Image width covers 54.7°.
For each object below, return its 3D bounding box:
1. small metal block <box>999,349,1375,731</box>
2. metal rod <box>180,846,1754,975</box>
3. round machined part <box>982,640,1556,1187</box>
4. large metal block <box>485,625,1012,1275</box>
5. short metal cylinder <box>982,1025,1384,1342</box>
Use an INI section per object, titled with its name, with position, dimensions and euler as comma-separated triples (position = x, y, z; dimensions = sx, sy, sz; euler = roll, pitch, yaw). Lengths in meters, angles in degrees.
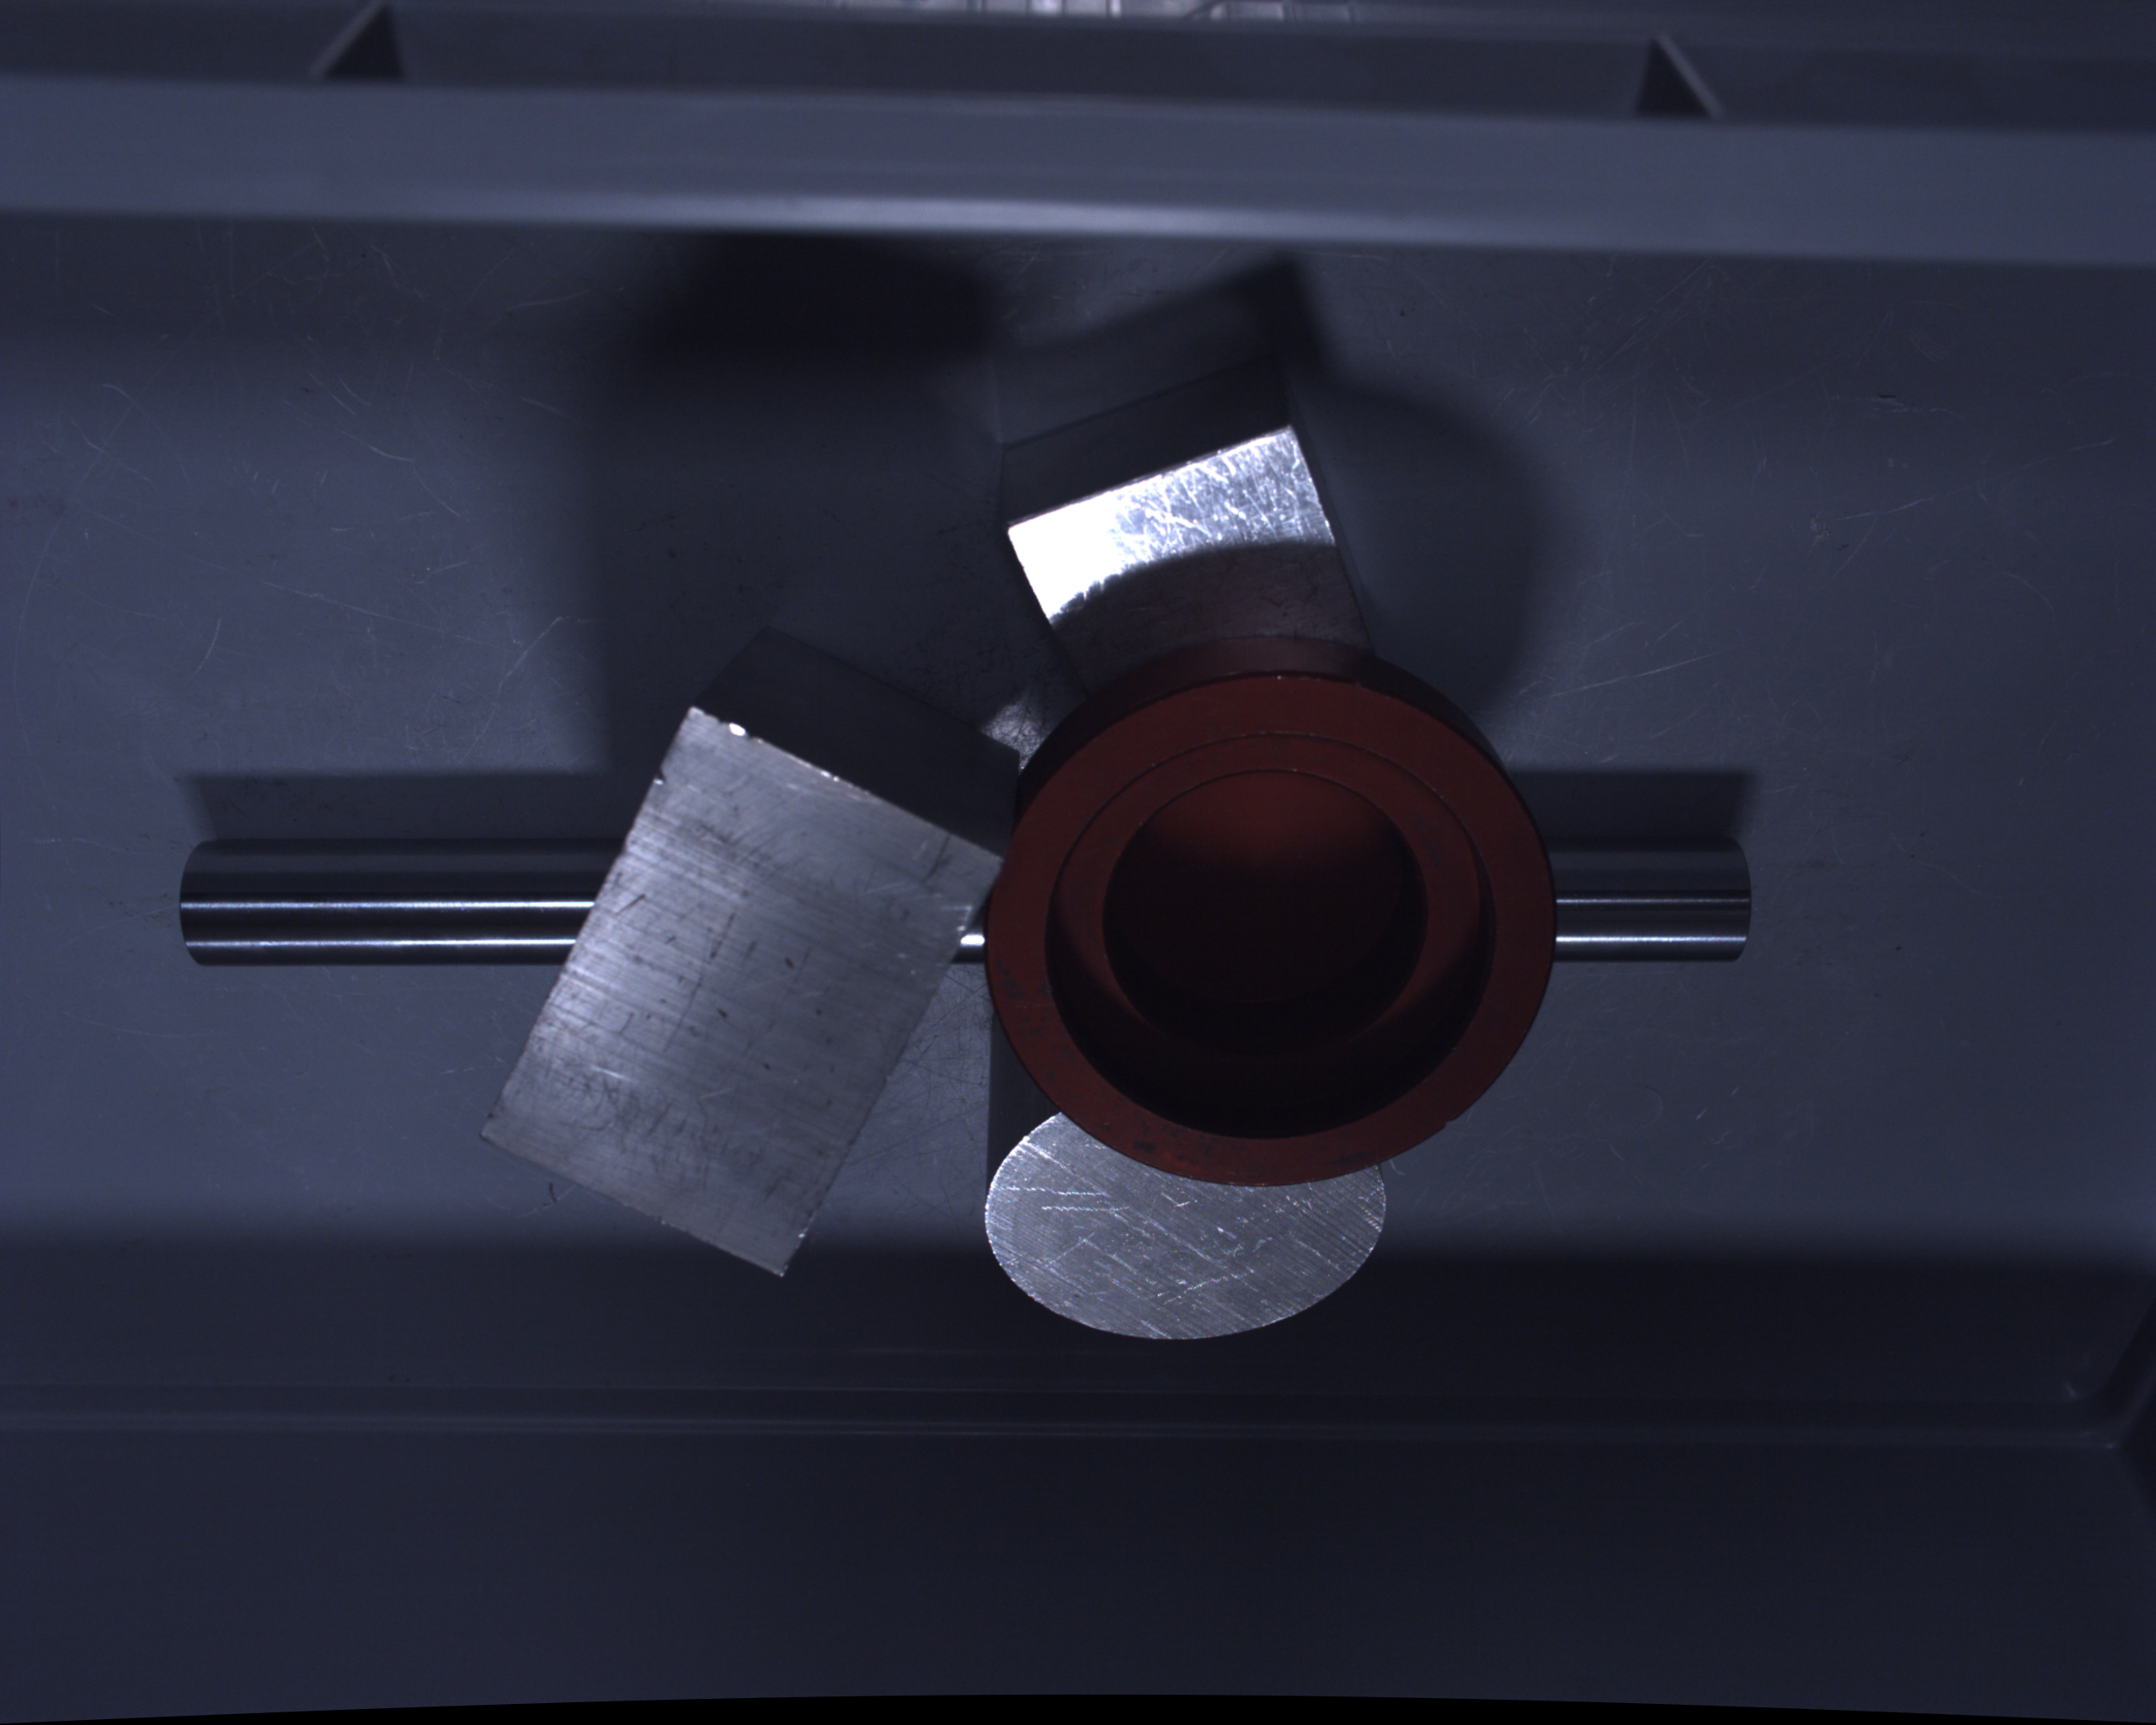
[small metal block]
position = 0.019, -0.054, 0.362
dimensions = 0.050, 0.025, 0.050
euler = -16, 129, 13
[metal rod]
position = -0.021, 0.009, 0.413
dimensions = 0.302, 0.025, 0.025
euler = 0, 130, -1
[round machined part]
position = 0.033, 0.006, 0.377
dimensions = 0.099, 0.042, 0.097
euler = 0, 113, 0
[large metal block]
position = -0.053, 0.011, 0.360
dimensions = 0.050, 0.080, 0.080
euler = 26, 103, -7
[short metal cylinder]
position = 0.021, 0.056, 0.437
dimensions = 0.081, 0.050, 0.079
euler = 0, 130, 0
